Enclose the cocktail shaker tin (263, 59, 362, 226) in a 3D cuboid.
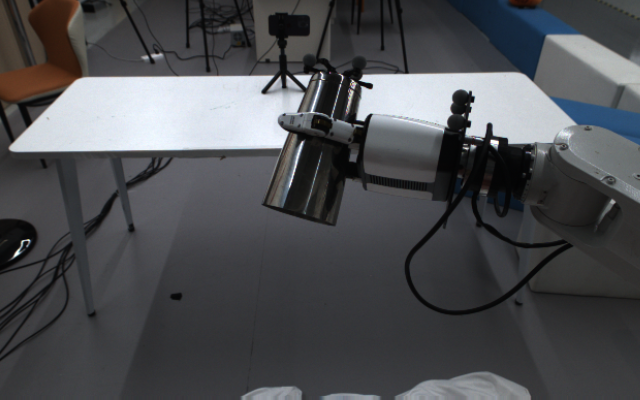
[{"bbox_3d":[-0.003,-0.063,0.587,0.093,0.170,0.093,16,-6,2],"label":"cocktail shaker tin"}]
